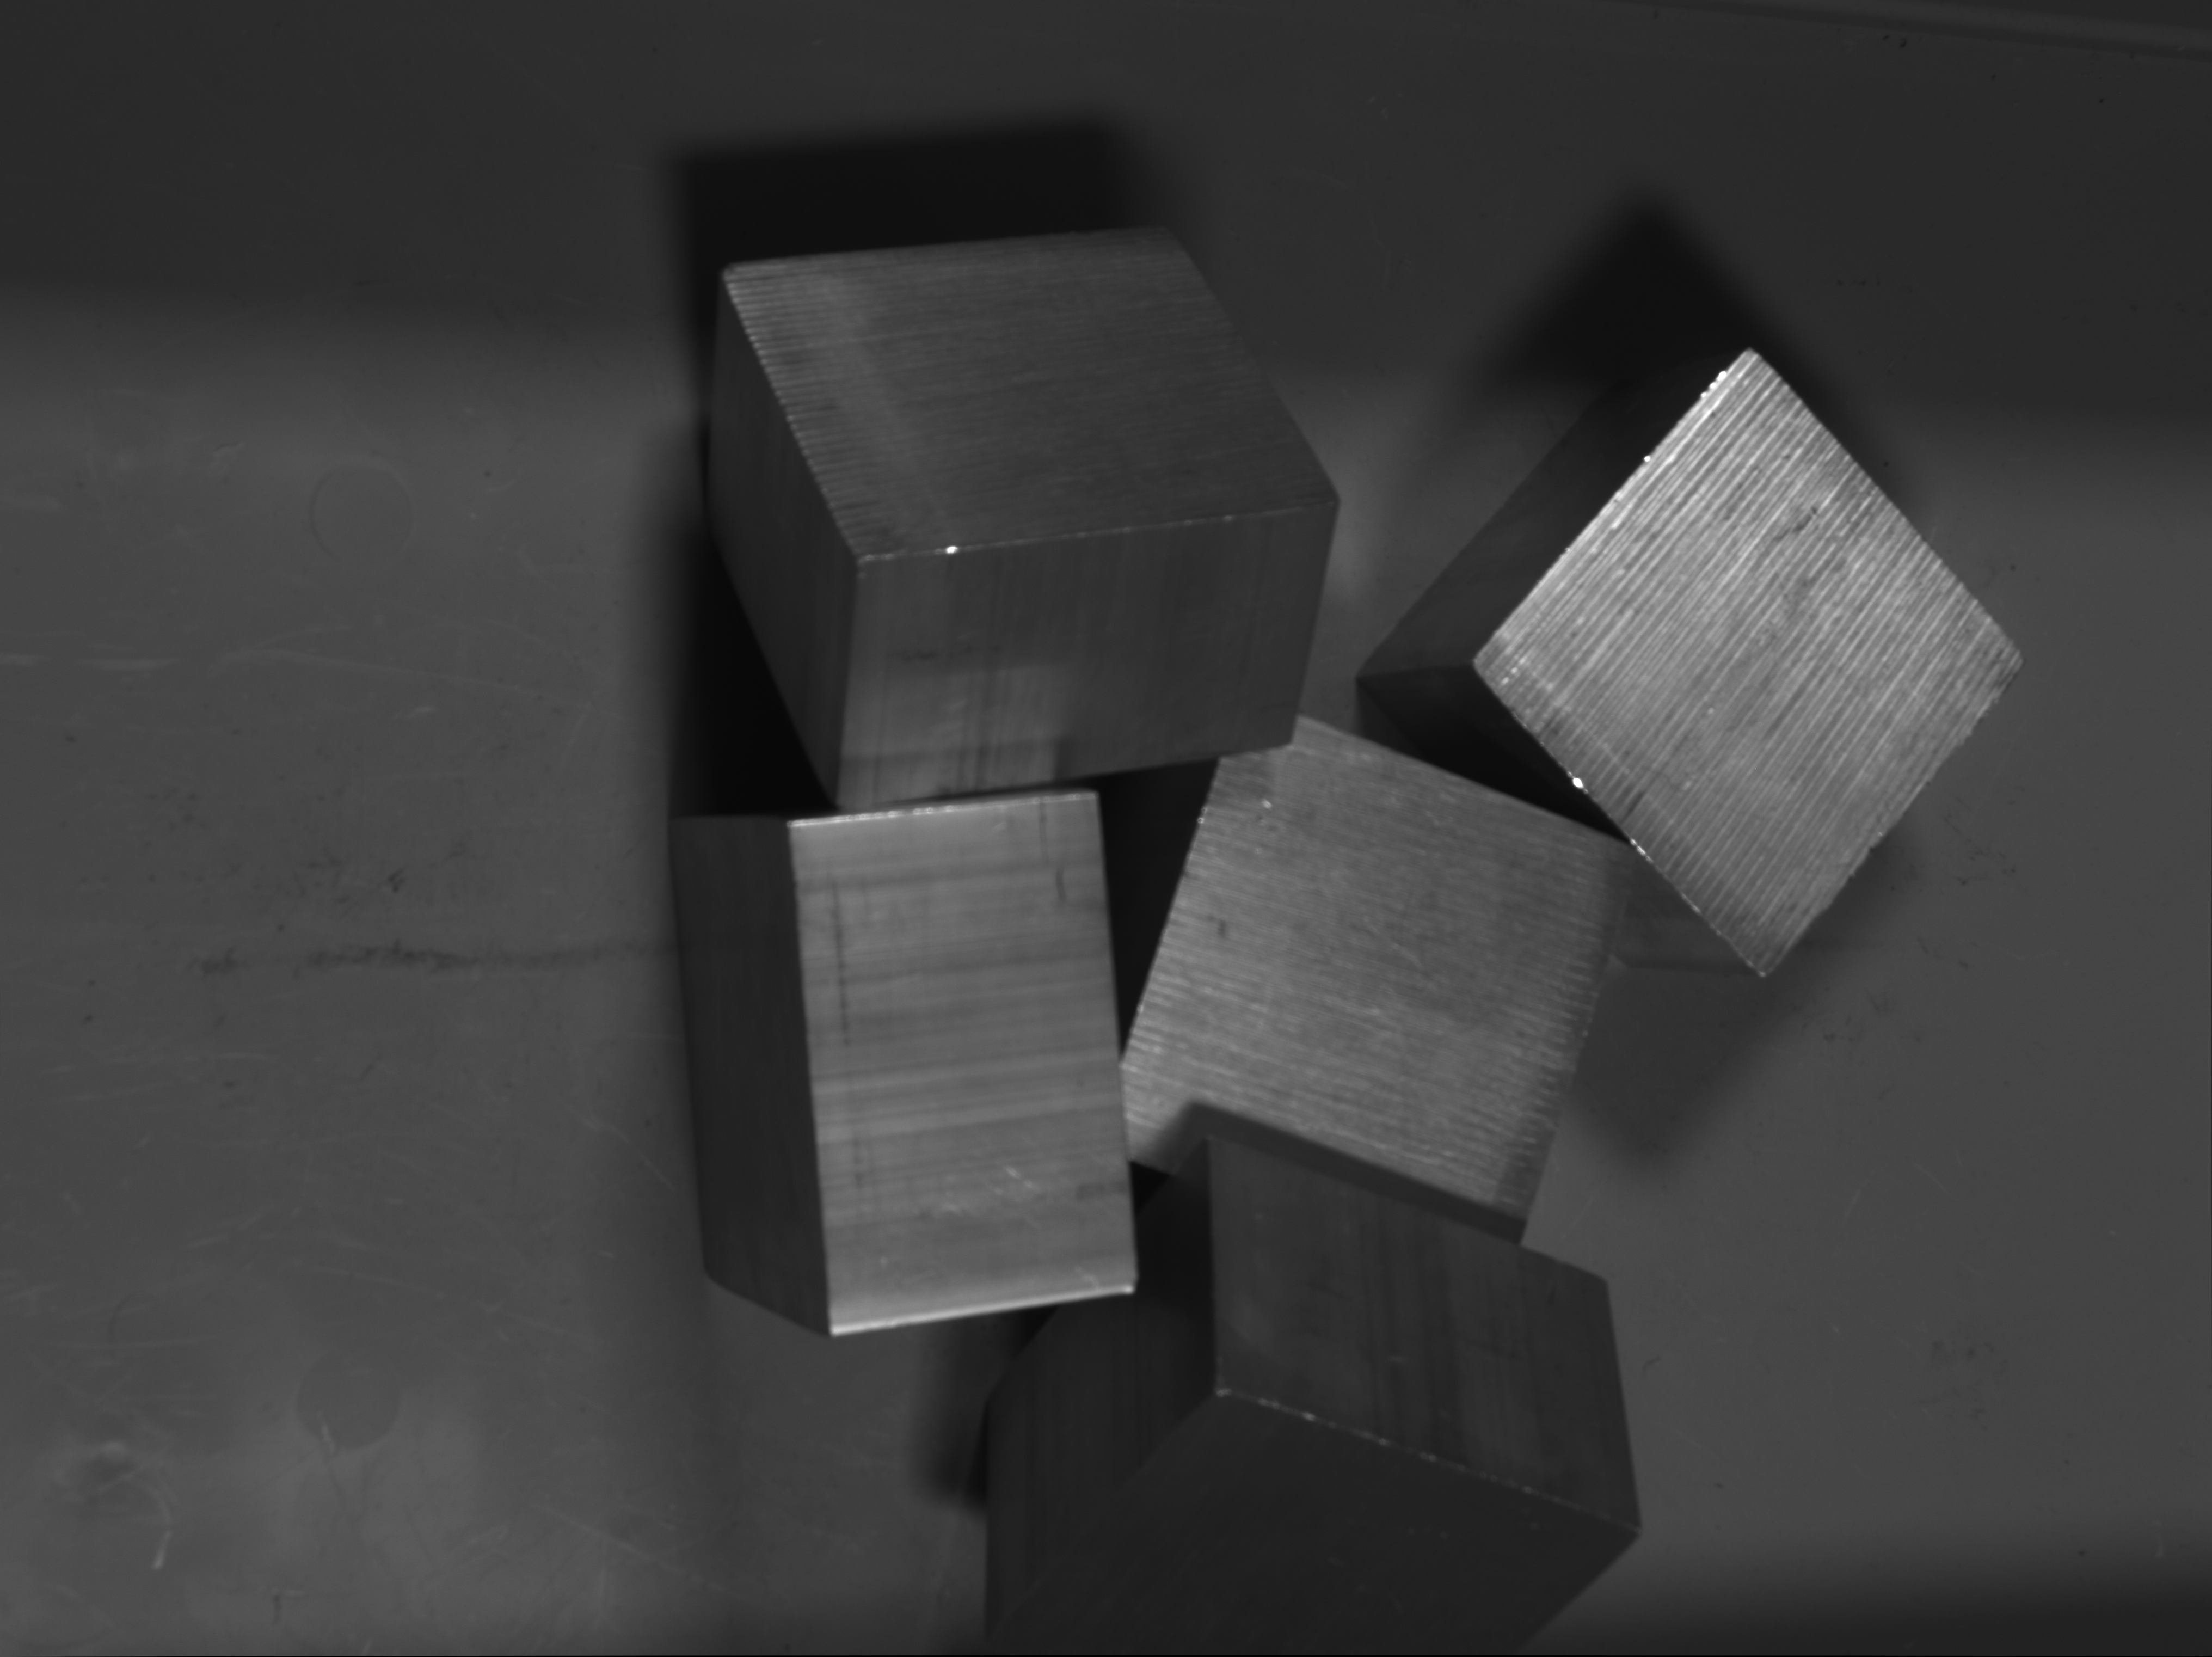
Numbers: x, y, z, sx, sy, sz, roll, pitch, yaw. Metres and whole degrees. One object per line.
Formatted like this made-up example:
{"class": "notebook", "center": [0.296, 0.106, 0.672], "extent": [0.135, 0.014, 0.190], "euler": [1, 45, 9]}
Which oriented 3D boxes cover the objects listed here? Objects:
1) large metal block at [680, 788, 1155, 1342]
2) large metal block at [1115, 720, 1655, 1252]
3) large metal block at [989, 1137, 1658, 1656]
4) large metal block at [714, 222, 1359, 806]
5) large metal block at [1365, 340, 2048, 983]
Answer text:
{"class": "large metal block", "center": [-0.033, 0.036, 0.601], "extent": [0.050, 0.080, 0.080], "euler": [-6, 92, -20]}
{"class": "large metal block", "center": [0.039, 0.028, 0.644], "extent": [0.080, 0.050, 0.080], "euler": [20, 83, -19]}
{"class": "large metal block", "center": [0.035, 0.107, 0.619], "extent": [0.080, 0.080, 0.050], "euler": [21, 41, -20]}
{"class": "large metal block", "center": [-0.014, -0.054, 0.602], "extent": [0.080, 0.080, 0.050], "euler": [-8, 134, -19]}
{"class": "large metal block", "center": [0.109, -0.029, 0.669], "extent": [0.080, 0.050, 0.080], "euler": [46, 76, -14]}
